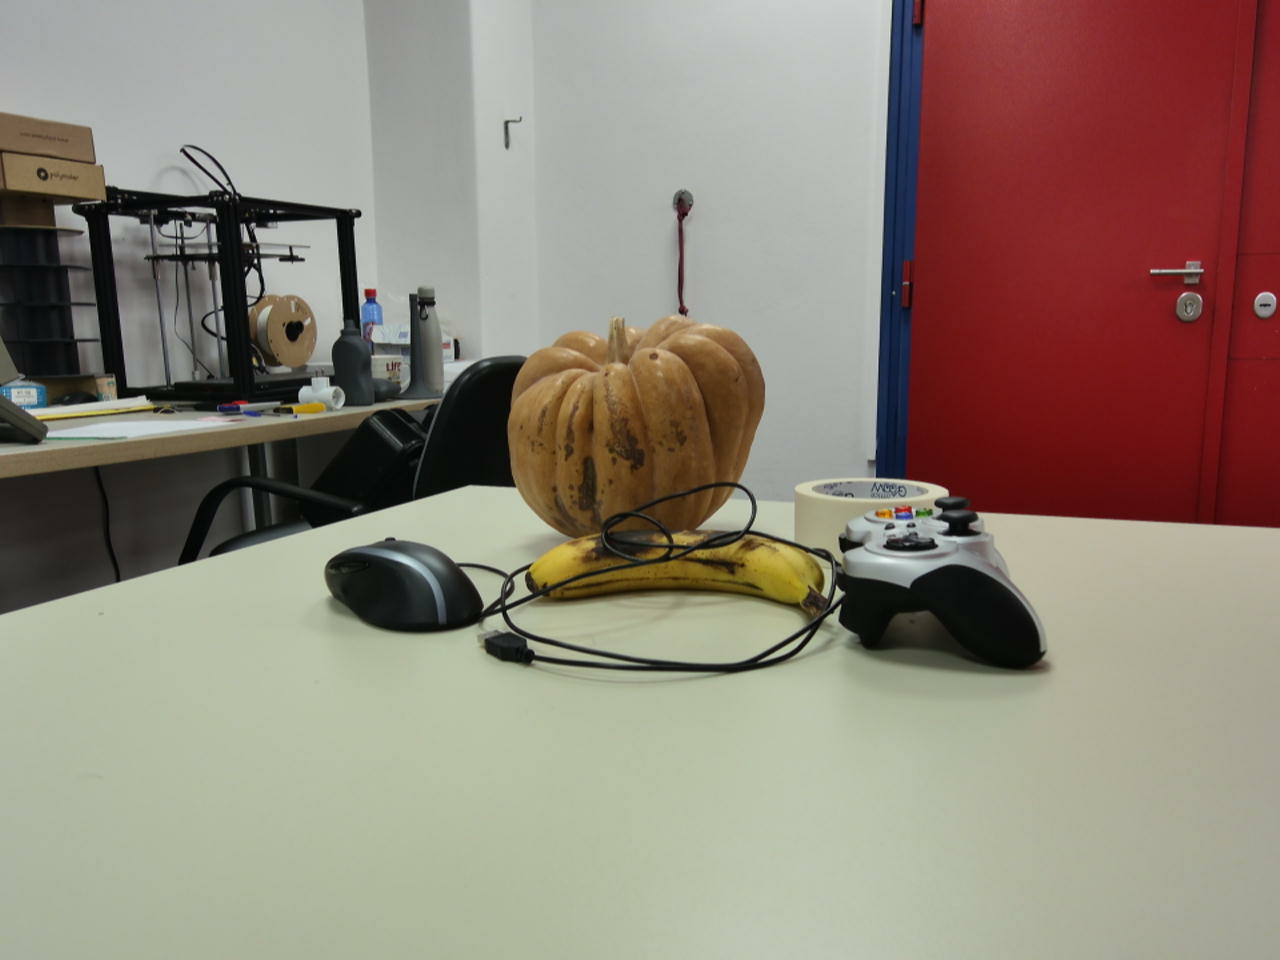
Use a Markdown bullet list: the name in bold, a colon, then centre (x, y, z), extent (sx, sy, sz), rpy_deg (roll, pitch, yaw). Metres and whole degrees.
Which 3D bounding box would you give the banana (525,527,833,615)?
- **banana**: centre (0.031, 0.055, 0.609), extent (0.187, 0.039, 0.094), rpy_deg (2, 7, 21)
